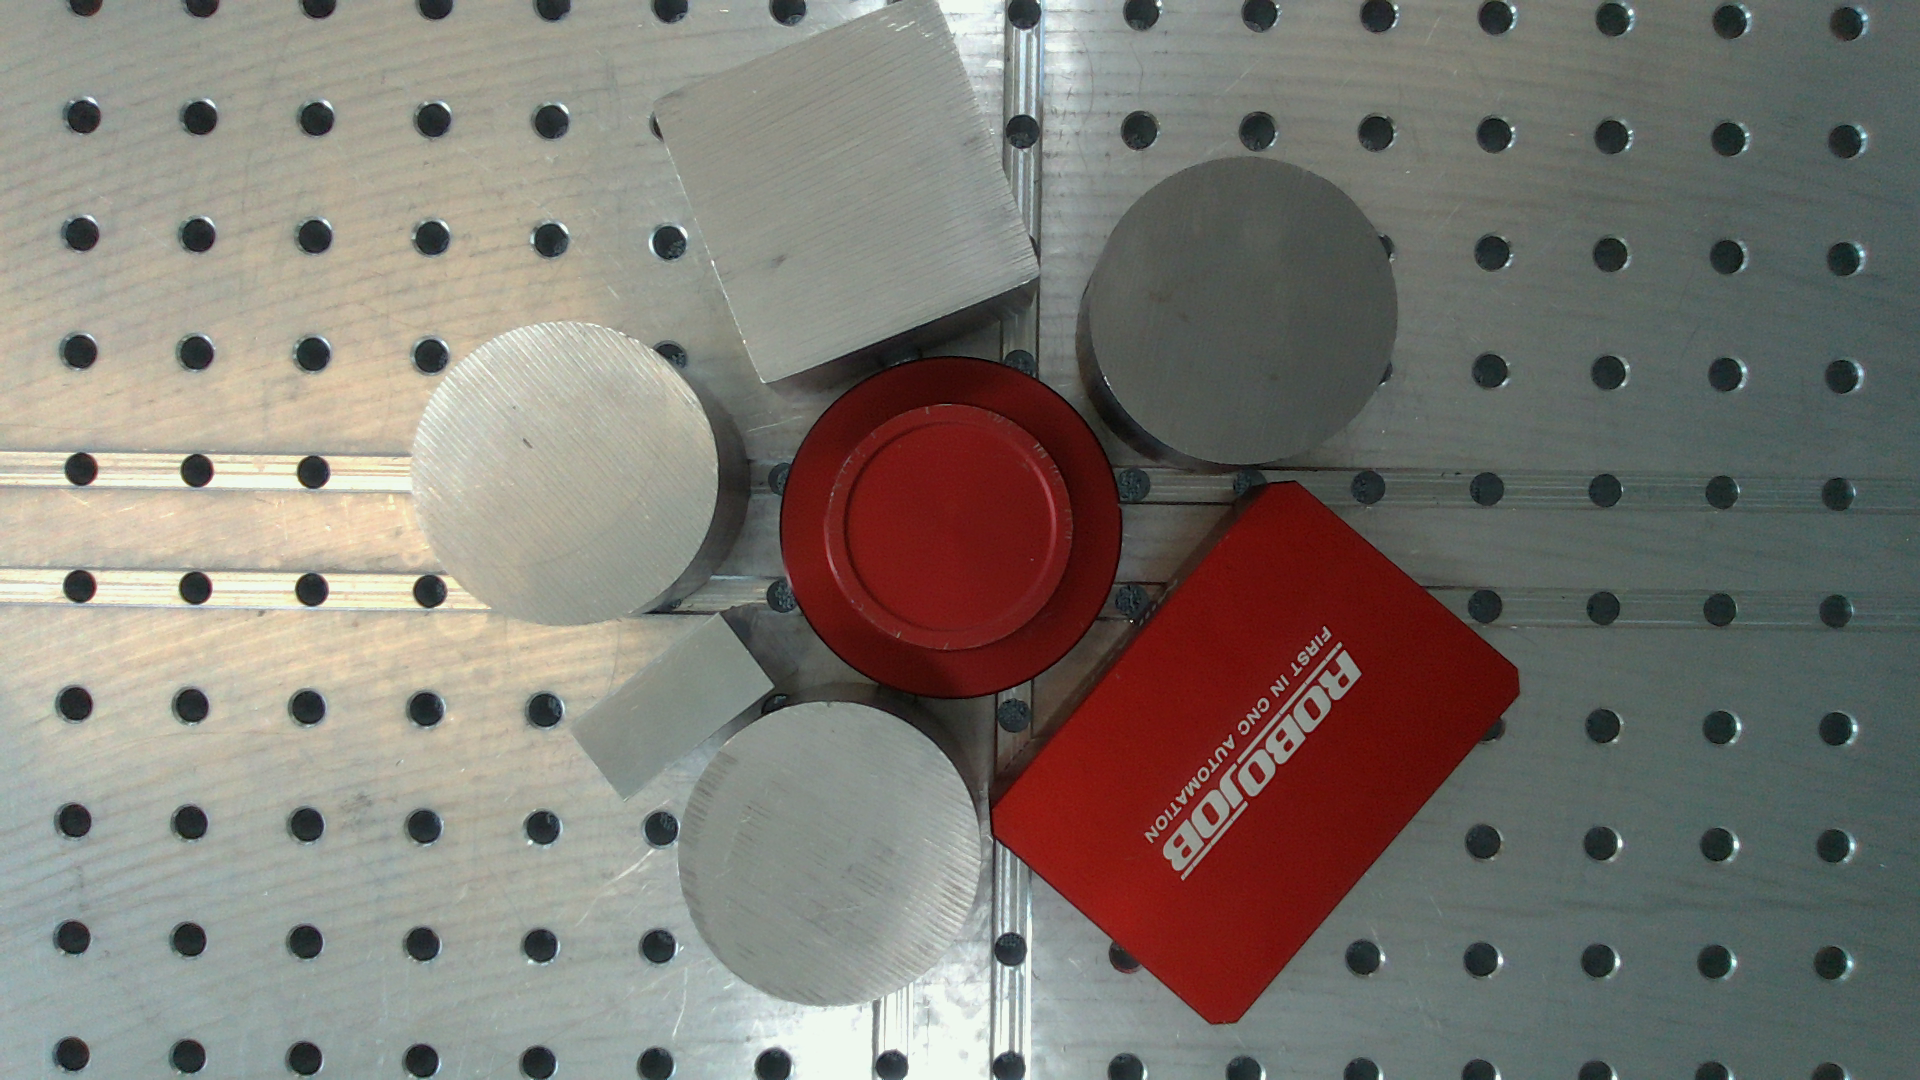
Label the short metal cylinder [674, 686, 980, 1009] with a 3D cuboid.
[{"bbox_3d":[-0.035,0.083,0.385,0.080,0.050,0.080,0,90,0],"label":"short metal cylinder"}]

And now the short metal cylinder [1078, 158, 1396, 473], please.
[{"bbox_3d":[0.074,-0.060,0.385,0.080,0.050,0.080,0,90,0],"label":"short metal cylinder"}]

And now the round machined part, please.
[{"bbox_3d":[-0.003,-0.003,0.388,0.098,0.042,0.098,0,90,0],"label":"round machined part"}]

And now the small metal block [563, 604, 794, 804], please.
[{"bbox_3d":[-0.076,0.044,0.384,0.050,0.050,0.025,-37,90,0],"label":"small metal block"}]

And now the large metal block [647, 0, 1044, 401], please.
[{"bbox_3d":[-0.030,-0.093,0.385,0.080,0.050,0.080,-21,90,0],"label":"large metal block"}]

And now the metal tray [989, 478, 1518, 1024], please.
[{"bbox_3d":[0.081,0.058,0.395,0.090,0.030,0.130,40,90,0],"label":"metal tray"}]

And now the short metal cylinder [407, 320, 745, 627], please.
[{"bbox_3d":[-0.104,-0.017,0.384,0.080,0.050,0.080,0,90,0],"label":"short metal cylinder"}]
